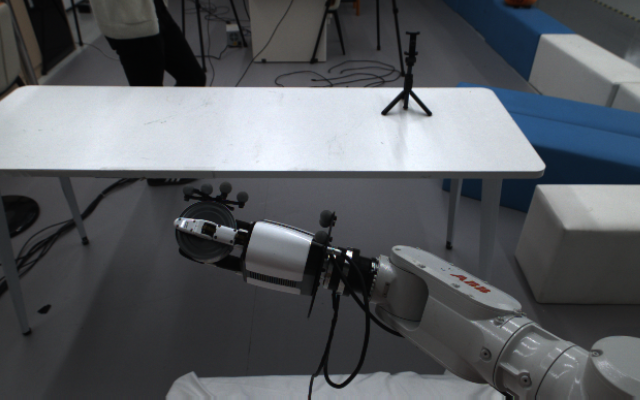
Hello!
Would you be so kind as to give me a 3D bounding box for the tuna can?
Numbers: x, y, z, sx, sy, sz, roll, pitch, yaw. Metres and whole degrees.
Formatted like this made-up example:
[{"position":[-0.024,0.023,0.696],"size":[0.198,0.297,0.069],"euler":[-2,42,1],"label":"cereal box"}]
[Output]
[{"position":[-0.161,0.046,0.692],"size":[0.085,0.034,0.085],"euler":[1,72,-2],"label":"tuna can"}]
